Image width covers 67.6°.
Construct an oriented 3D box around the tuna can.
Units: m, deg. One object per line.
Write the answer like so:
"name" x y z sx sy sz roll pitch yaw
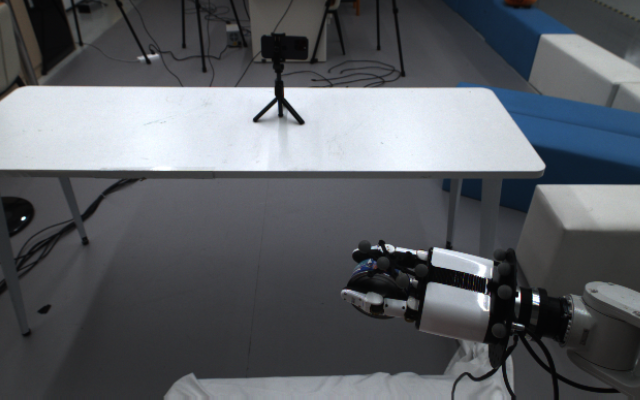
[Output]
"tuna can" 0.084 0.121 0.672 0.085 0.085 0.034 12 33 14
